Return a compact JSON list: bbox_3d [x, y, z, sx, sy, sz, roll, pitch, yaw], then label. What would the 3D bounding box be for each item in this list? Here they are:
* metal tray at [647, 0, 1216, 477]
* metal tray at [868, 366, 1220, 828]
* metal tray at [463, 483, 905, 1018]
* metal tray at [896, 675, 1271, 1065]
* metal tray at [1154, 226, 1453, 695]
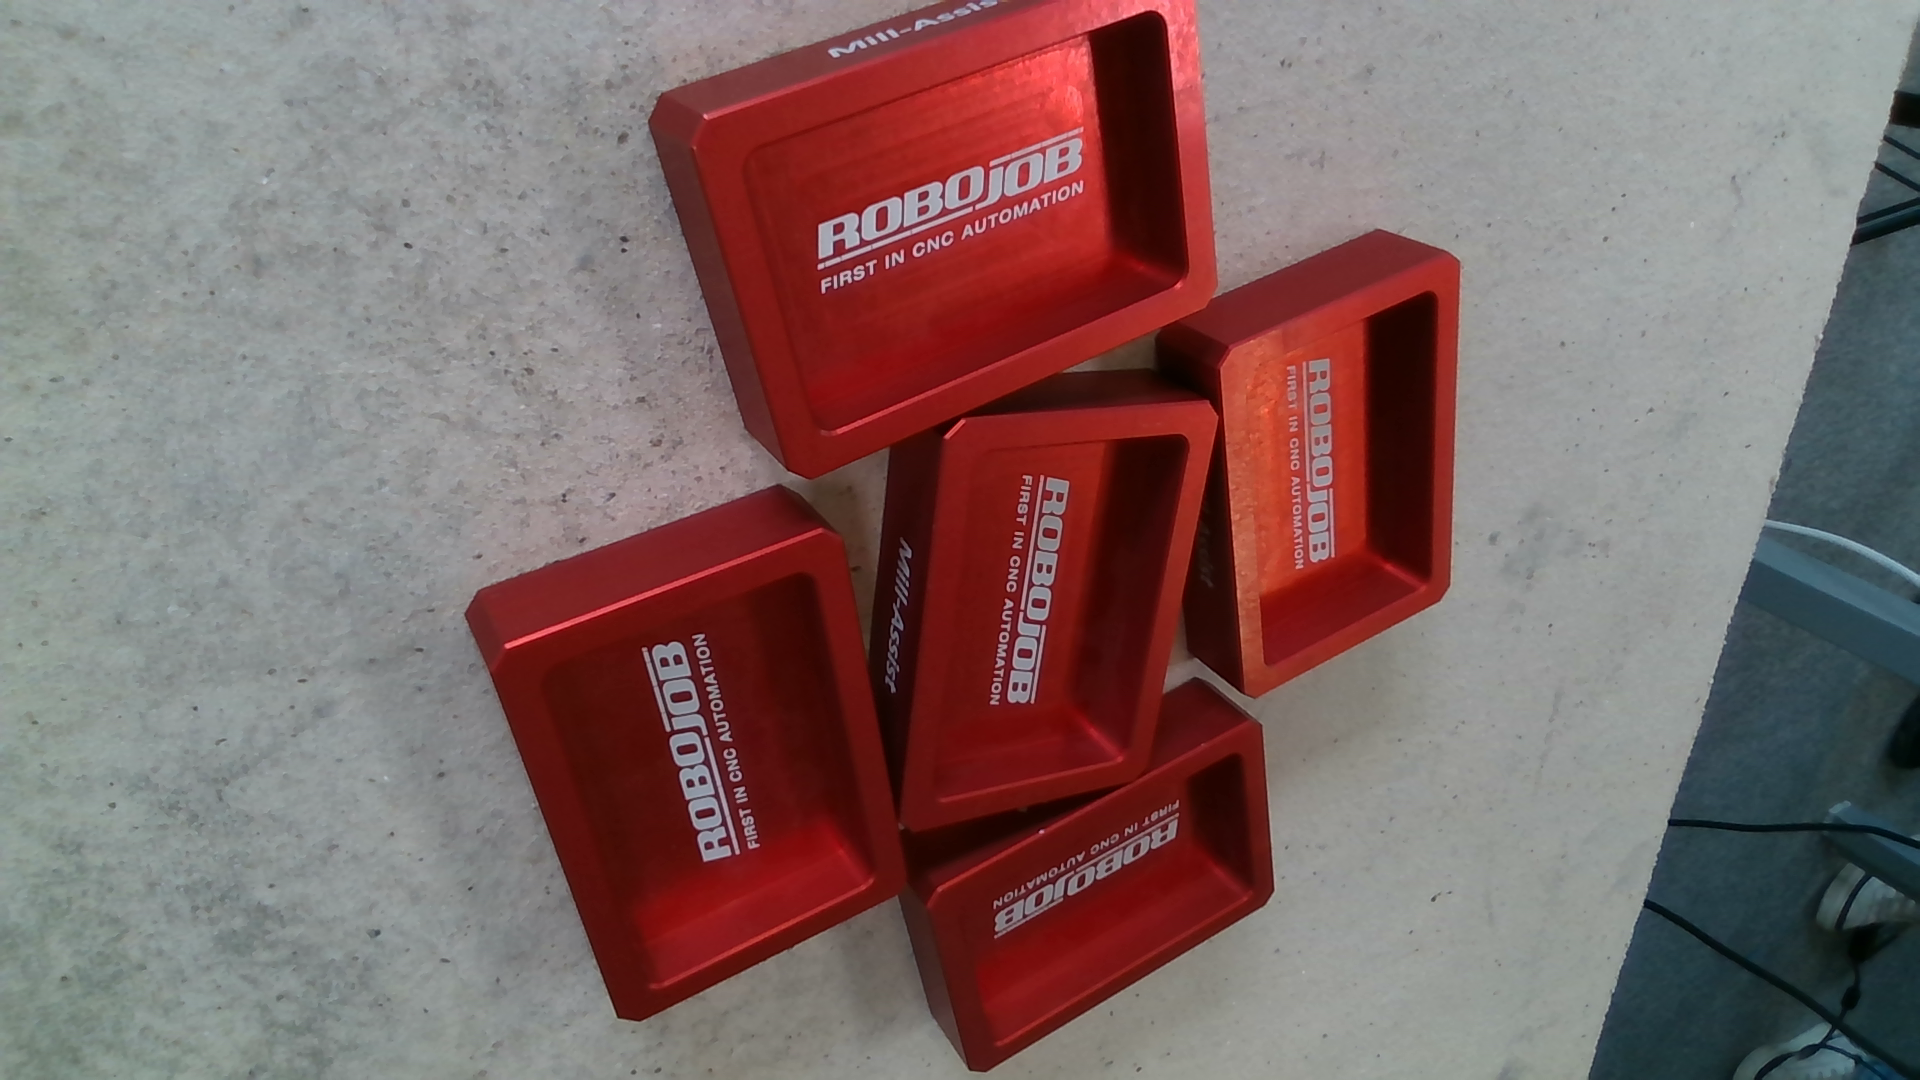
[{"bbox_3d":[-0.001,-0.082,0.341,0.130,0.030,0.090,-25,125,-18],"label":"metal tray"},{"bbox_3d":[0.021,0.016,0.408,0.090,0.030,0.130,-6,117,-27],"label":"metal tray"},{"bbox_3d":[-0.069,0.059,0.375,0.090,0.030,0.130,-21,124,-21],"label":"metal tray"},{"bbox_3d":[0.045,0.113,0.476,0.130,0.030,0.090,-24,124,-18],"label":"metal tray"},{"bbox_3d":[0.114,-0.024,0.444,0.090,0.030,0.130,-24,125,-19],"label":"metal tray"}]
